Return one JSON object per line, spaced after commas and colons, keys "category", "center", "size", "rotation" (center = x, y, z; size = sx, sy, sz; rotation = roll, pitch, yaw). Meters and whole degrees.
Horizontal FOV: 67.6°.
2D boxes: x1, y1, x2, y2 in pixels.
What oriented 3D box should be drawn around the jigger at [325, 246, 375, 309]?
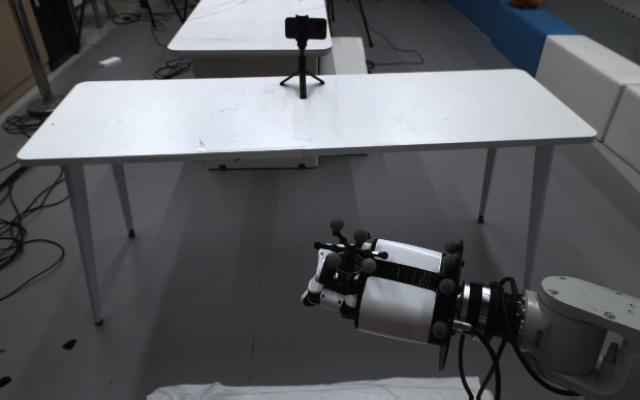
{"category": "jigger", "center": [0.033, 0.103, 0.609], "size": [0.043, 0.071, 0.043], "rotation": [7, 32, -4]}
